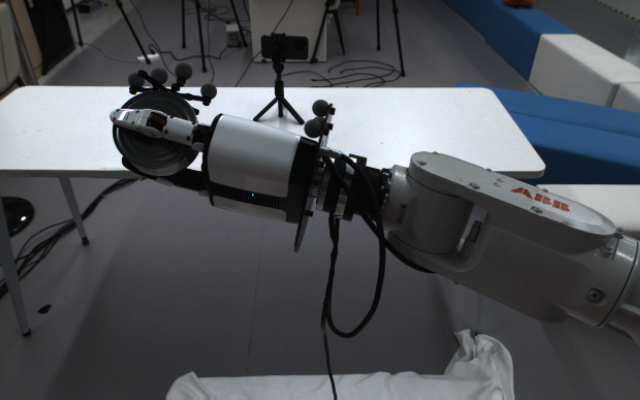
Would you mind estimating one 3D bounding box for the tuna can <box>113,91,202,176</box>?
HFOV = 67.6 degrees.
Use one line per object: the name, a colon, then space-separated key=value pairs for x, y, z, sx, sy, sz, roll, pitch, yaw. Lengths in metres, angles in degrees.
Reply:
tuna can: x=-0.168 y=-0.070 z=0.511 sx=0.085 sy=0.034 sz=0.085 roll=1 pitch=73 yaw=-2
